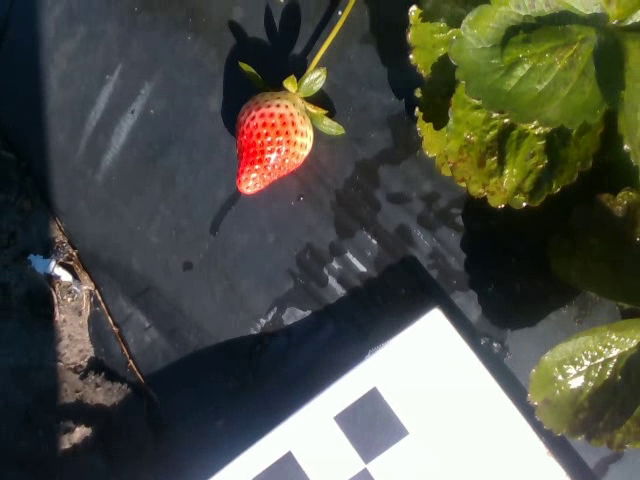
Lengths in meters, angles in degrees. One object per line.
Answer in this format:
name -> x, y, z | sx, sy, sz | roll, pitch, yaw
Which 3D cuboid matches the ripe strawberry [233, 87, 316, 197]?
ripe strawberry -> -0.022, -0.039, 0.260 | 0.039, 0.053, 0.041 | 31, -12, 14
